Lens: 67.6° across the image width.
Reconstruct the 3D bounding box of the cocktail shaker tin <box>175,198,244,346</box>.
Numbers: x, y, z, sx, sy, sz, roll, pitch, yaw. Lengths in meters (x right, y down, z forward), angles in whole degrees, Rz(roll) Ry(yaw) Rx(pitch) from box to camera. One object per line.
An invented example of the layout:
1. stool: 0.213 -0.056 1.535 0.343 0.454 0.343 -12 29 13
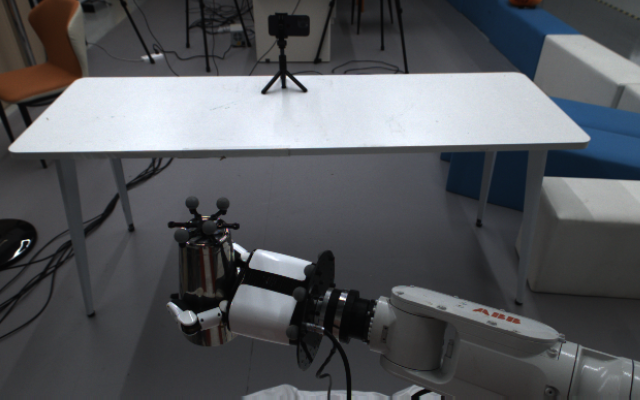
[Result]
1. cocktail shaker tin: -0.151 0.109 0.666 0.093 0.170 0.093 3 35 -2
